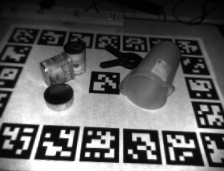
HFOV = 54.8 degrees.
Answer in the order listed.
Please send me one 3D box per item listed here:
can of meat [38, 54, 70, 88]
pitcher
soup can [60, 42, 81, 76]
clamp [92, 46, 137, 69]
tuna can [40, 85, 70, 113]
[{"bbox_3d":[-0.192,-0.044,0.699,0.084,0.102,0.057,-29,59,-21],"label":"can of meat"},{"bbox_3d":[0.125,-0.051,0.714,0.186,0.134,0.243,4,39,28],"label":"pitcher"},{"bbox_3d":[-0.144,-0.091,0.748,0.068,0.102,0.067,1,52,0],"label":"soup can"},{"bbox_3d":[0.012,-0.102,0.825,0.165,0.037,0.121,7,46,-4],"label":"clamp"},{"bbox_3d":[-0.177,0.043,0.676,0.086,0.034,0.085,3,52,-3],"label":"tuna can"}]
